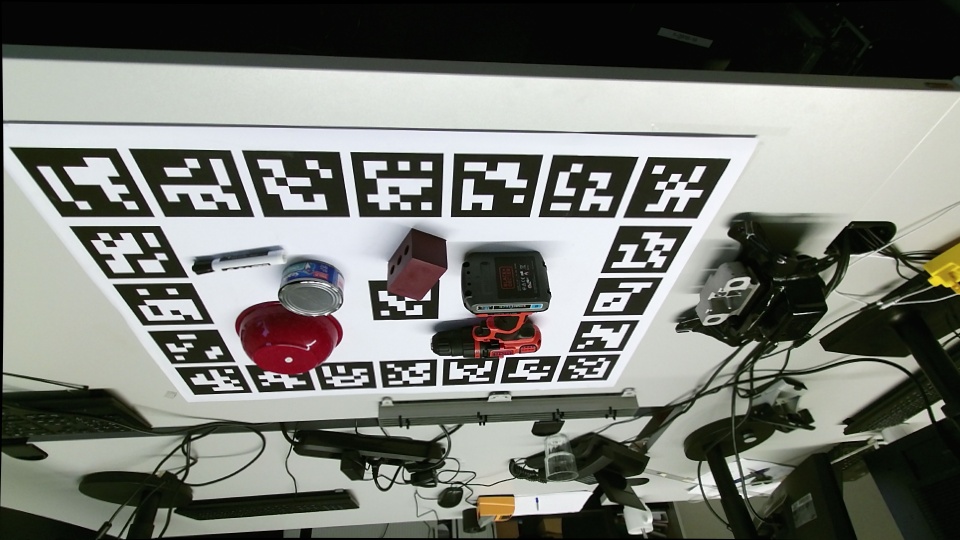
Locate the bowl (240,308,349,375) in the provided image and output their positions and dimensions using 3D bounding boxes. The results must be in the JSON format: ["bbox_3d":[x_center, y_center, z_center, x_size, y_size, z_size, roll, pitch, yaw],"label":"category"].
[{"bbox_3d":[-0.288,0.121,0.834,0.162,0.055,0.162,-6,147,-4],"label":"bowl"}]

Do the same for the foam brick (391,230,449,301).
[{"bbox_3d":[-0.080,-0.005,0.710,0.051,0.052,0.078,17,133,-23],"label":"foam brick"}]

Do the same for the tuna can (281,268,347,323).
[{"bbox_3d":[-0.229,0.036,0.742,0.086,0.033,0.086,-2,140,-2],"label":"tuna can"}]

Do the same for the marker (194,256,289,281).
[{"bbox_3d":[-0.311,-0.002,0.697,0.121,0.019,0.020,-7,138,2],"label":"marker"}]

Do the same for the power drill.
[{"bbox_3d":[0.027,0.070,0.804,0.185,0.057,0.187,1,142,-3],"label":"power drill"}]
